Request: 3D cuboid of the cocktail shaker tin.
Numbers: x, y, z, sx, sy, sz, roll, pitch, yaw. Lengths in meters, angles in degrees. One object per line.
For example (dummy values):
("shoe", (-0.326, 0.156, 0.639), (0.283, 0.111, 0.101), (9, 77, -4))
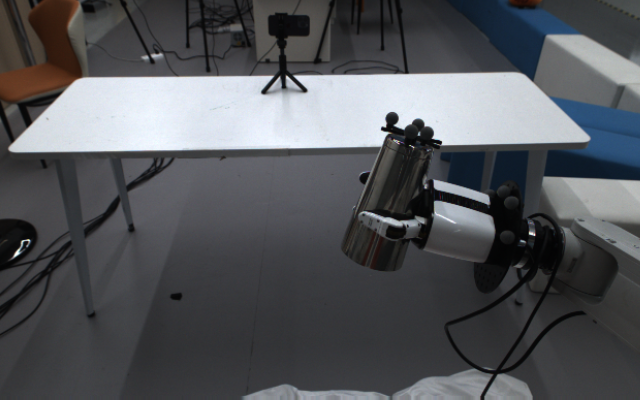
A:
("cocktail shaker tin", (0.097, 0.000, 0.663), (0.093, 0.170, 0.093), (14, 20, -5))
